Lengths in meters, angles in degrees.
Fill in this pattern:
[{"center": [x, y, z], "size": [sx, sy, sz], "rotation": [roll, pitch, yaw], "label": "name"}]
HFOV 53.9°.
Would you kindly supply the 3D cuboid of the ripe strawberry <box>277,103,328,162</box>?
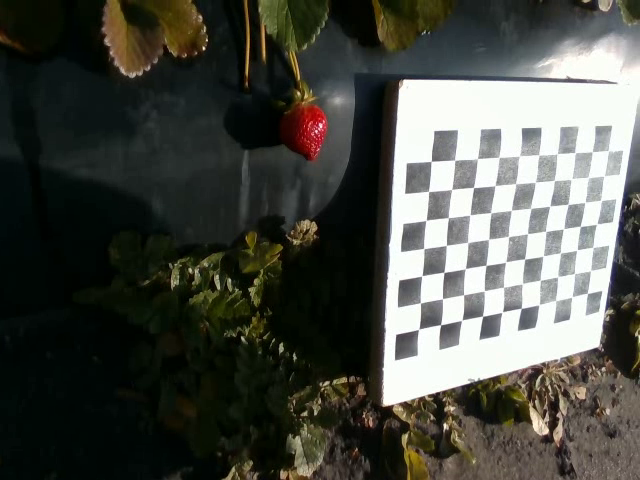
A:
[{"center": [-0.009, -0.071, 0.421], "size": [0.040, 0.044, 0.036], "rotation": [-26, 12, -21], "label": "ripe strawberry"}]
